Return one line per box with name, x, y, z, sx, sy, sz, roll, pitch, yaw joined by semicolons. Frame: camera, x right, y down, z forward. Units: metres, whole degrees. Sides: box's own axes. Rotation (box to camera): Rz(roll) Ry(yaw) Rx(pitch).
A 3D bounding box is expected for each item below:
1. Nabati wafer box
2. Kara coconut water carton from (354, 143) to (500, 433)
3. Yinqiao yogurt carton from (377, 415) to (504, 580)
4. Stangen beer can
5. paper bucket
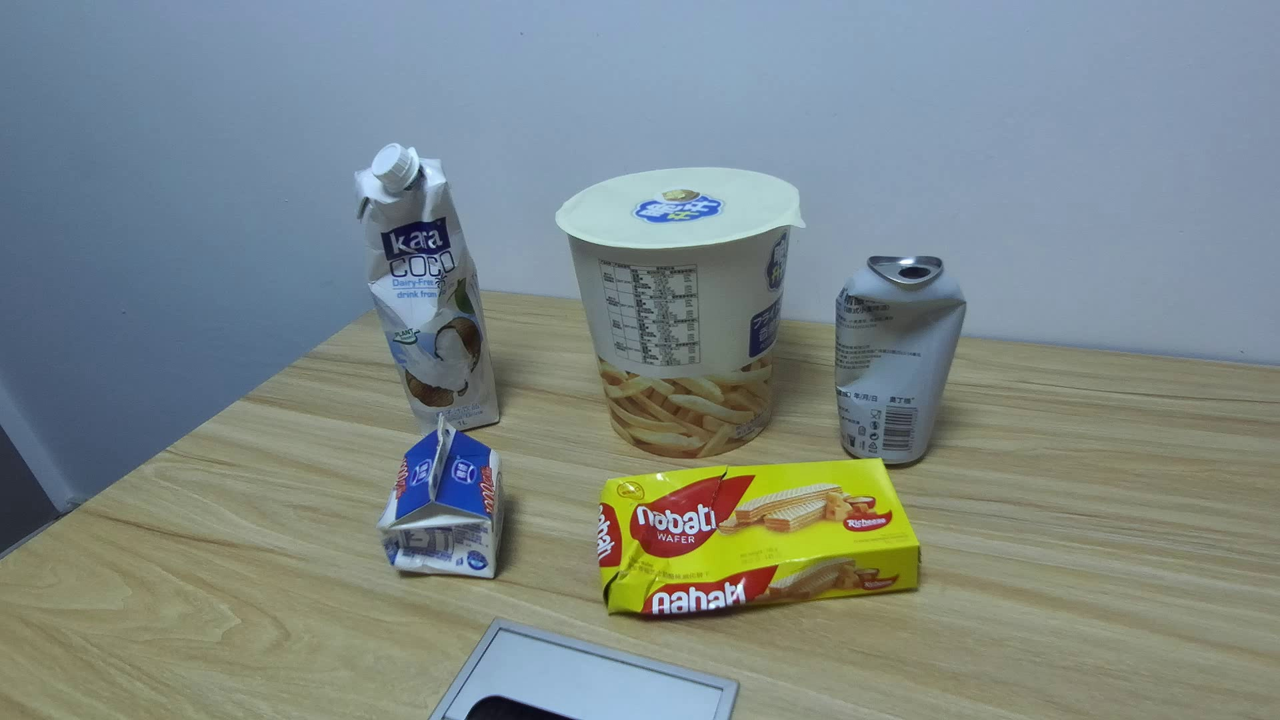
Nabati wafer box;0.073;0.119;0.475;0.204;0.042;0.106;-4;28;2
Kara coconut water carton;-0.181;-0.057;0.599;0.083;0.256;0.078;-5;33;-2
Yinqiao yogurt carton;-0.139;0.095;0.493;0.080;0.097;0.074;-1;32;-6
Stangen beer can;0.192;0.002;0.534;0.077;0.162;0.065;-19;34;-25
paper bucket;0.038;-0.040;0.594;0.198;0.195;0.198;-4;31;3
